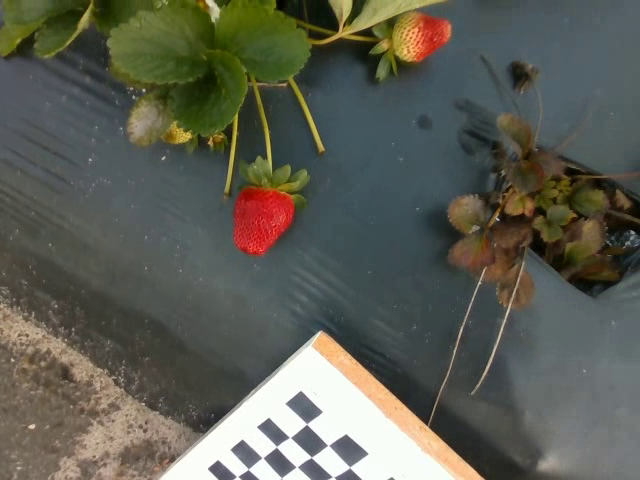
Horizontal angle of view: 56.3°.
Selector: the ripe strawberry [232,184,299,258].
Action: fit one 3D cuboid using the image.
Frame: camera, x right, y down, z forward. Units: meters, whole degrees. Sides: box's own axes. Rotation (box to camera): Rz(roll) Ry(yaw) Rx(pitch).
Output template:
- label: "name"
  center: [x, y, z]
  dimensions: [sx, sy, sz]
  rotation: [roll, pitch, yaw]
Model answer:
- label: "ripe strawberry"
  center: [-0.040, -0.012, 0.392]
  dimensions: [0.045, 0.055, 0.042]
  rotation: [2, -36, 30]
